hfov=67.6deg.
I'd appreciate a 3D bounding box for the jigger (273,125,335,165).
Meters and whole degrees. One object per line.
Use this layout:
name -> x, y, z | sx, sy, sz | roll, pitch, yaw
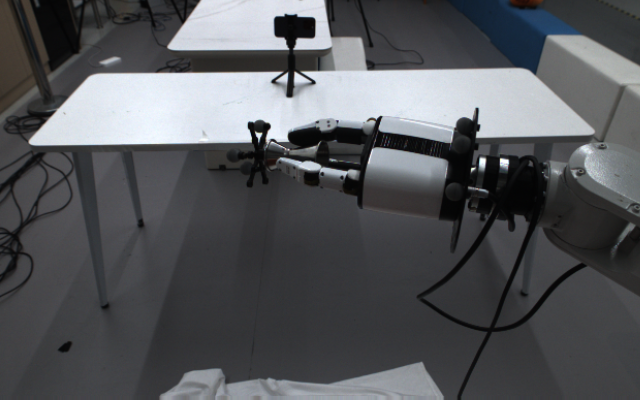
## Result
jigger -> -0.023, -0.059, 0.582 | 0.071, 0.043, 0.043 | 4, 34, 20
